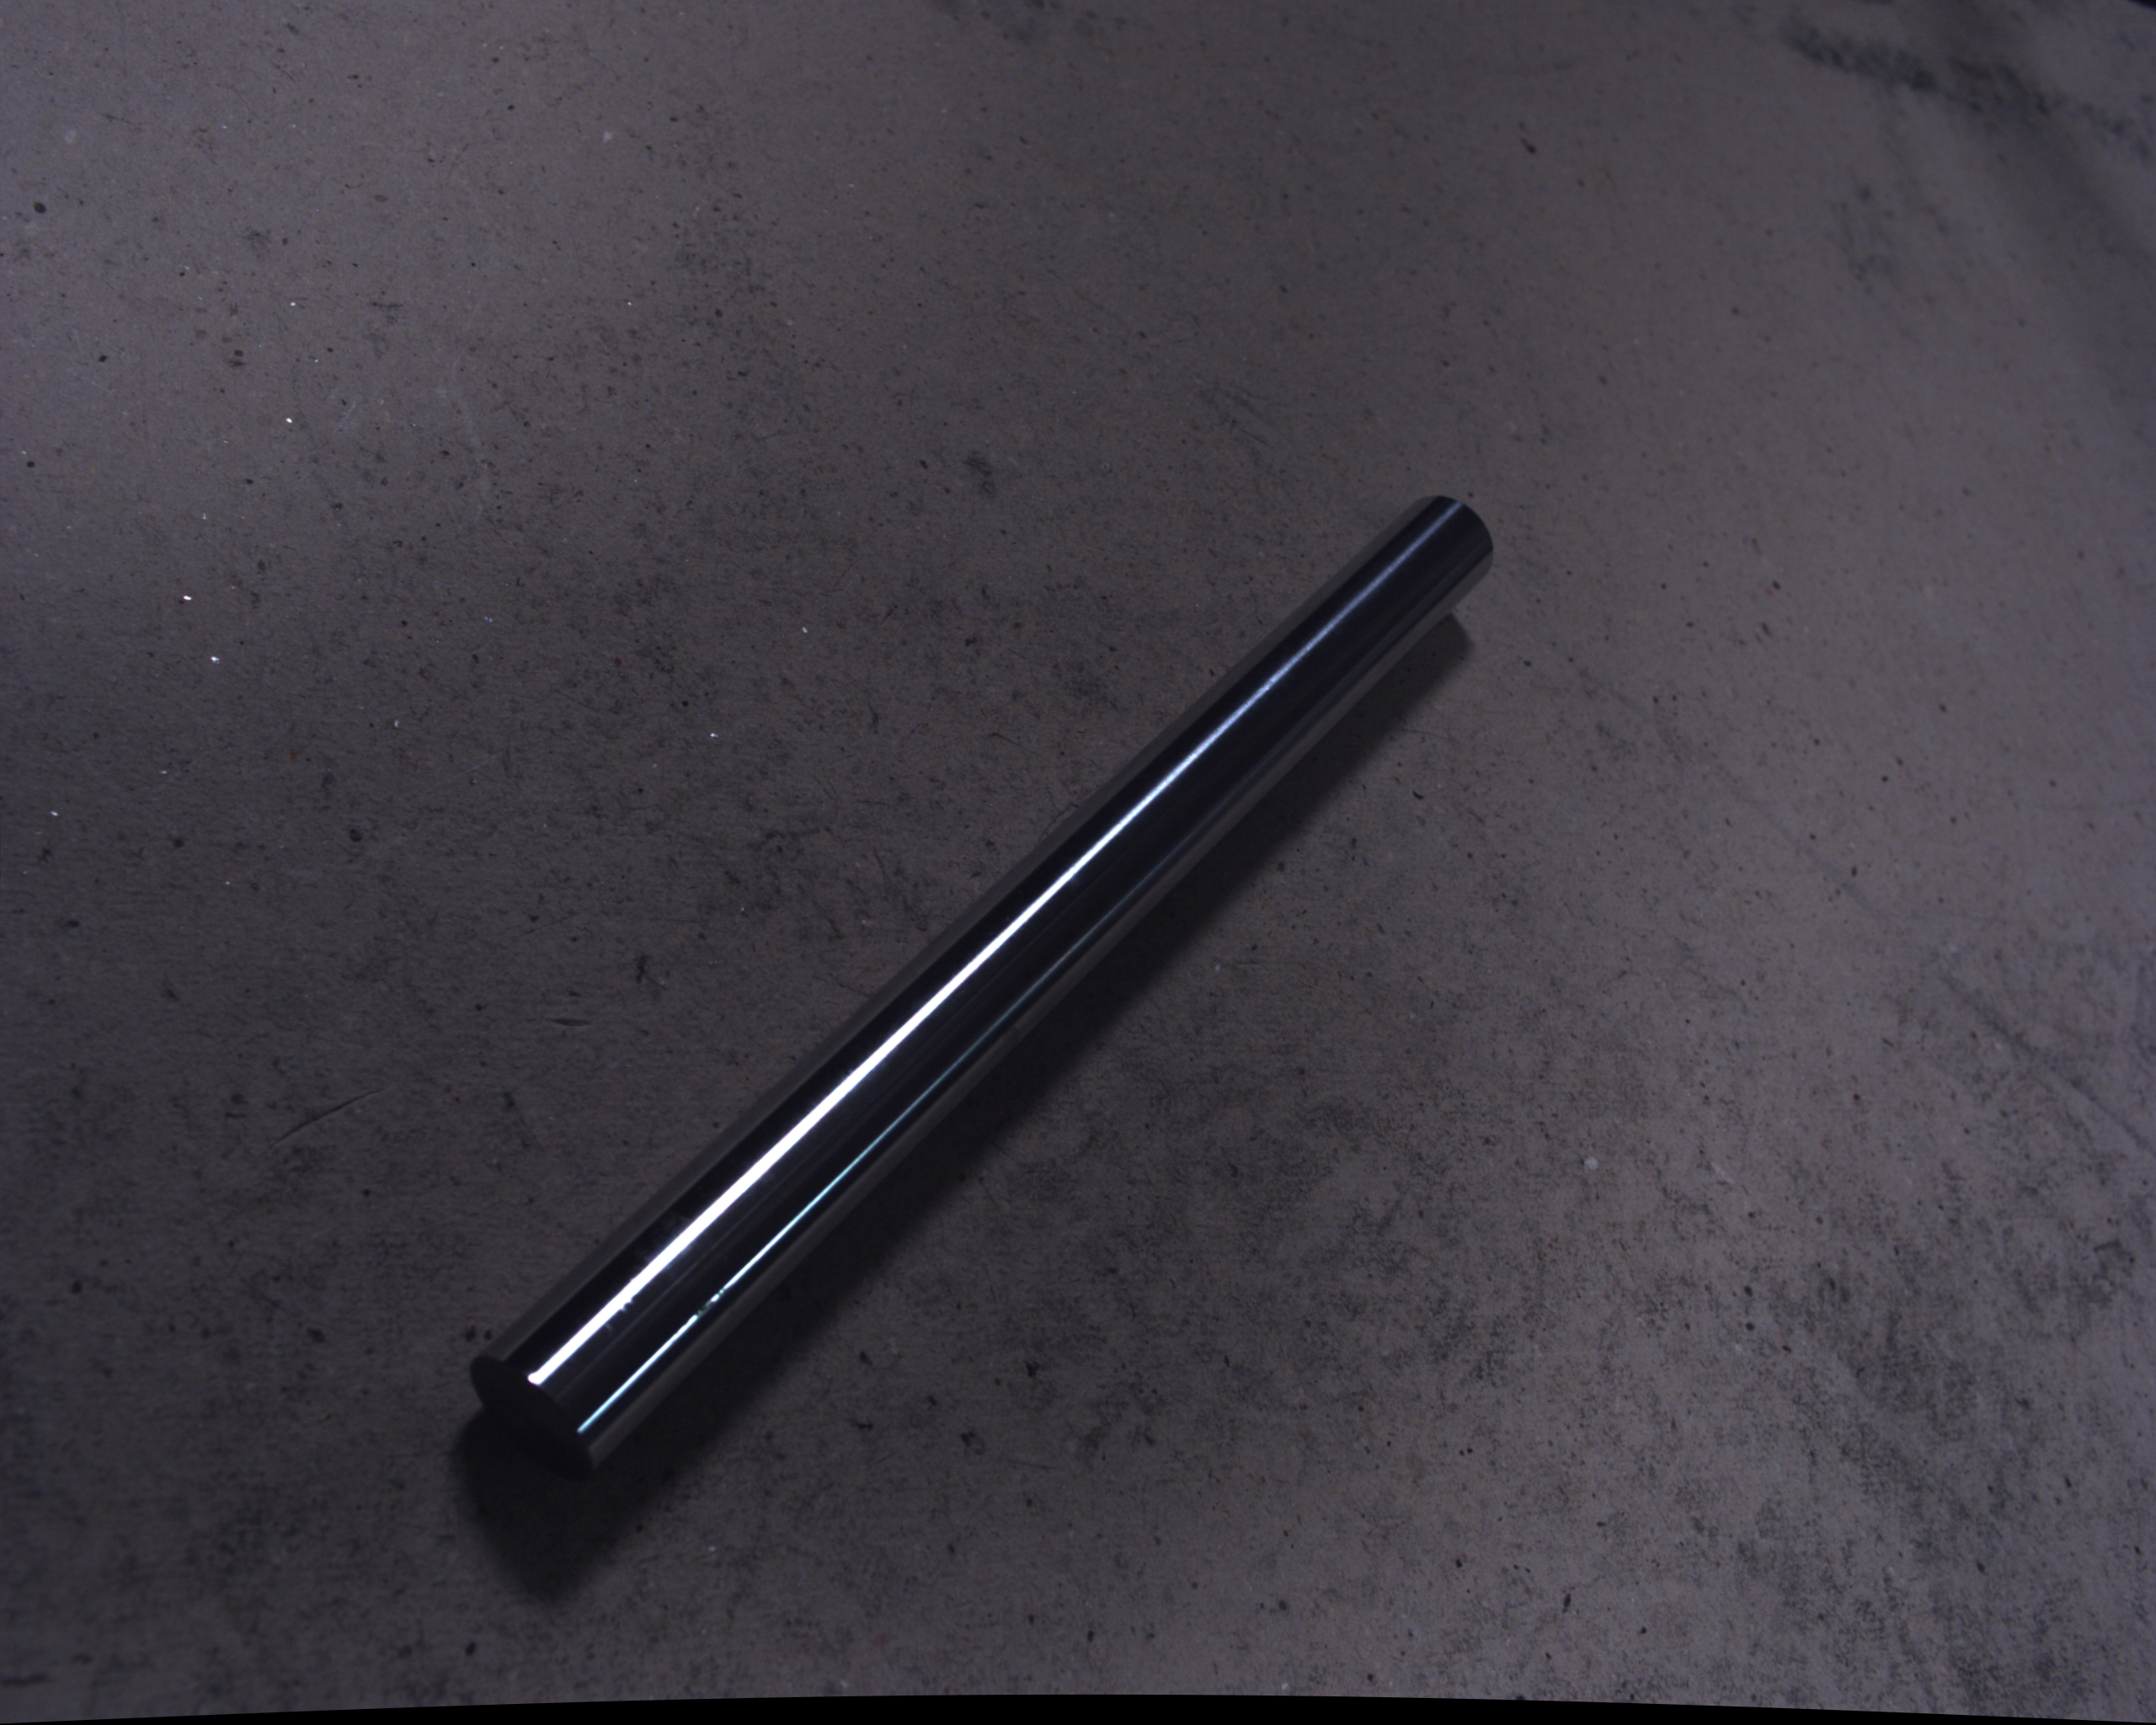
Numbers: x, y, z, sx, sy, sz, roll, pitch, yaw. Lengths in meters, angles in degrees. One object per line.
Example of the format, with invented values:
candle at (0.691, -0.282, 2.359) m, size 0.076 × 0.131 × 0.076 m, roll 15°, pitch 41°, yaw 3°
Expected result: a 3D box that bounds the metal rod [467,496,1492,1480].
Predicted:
metal rod at (0.003, 0.003, 0.407) m, size 0.025 × 0.025 × 0.302 m, roll 45°, pitch 51°, yaw 2°
